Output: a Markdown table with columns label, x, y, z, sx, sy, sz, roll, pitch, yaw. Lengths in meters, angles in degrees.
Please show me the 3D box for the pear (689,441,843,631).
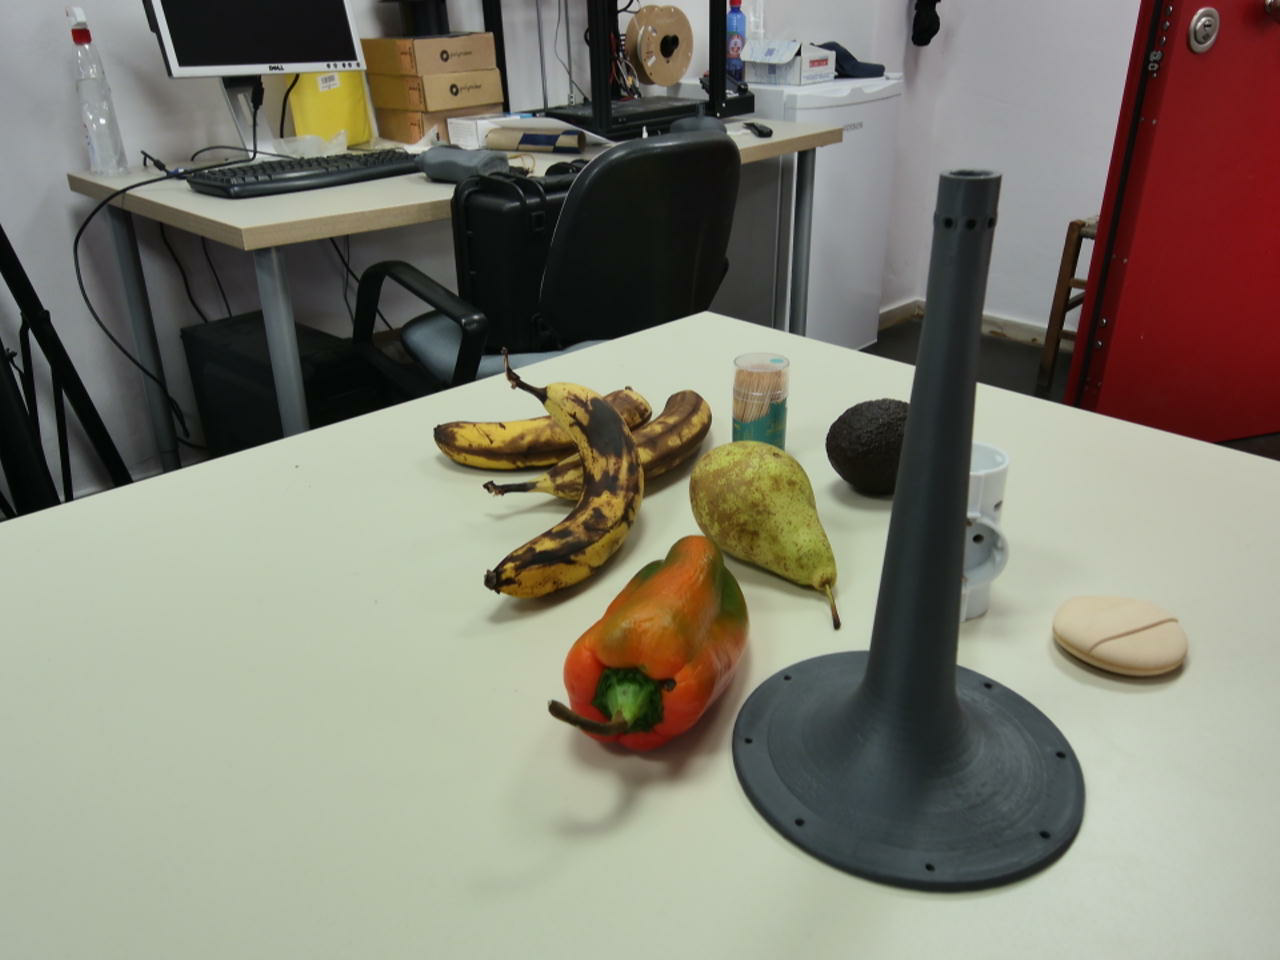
| label | x | y | z | sx | sy | sz | roll | pitch | yaw |
| --- | --- | --- | --- | --- | --- | --- | --- | --- | --- |
| pear | 0.083 | 0.020 | 0.598 | 0.128 | 0.075 | 0.071 | 20 | 31 | 35 |
